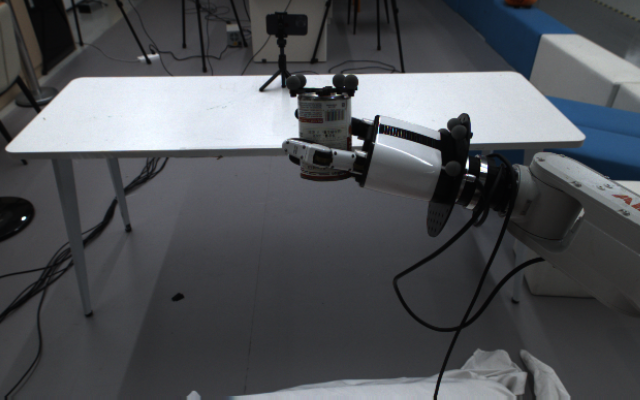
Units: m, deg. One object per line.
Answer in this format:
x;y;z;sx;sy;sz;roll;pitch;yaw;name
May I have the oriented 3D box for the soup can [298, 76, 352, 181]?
0.008;-0.080;0.602;0.067;0.101;0.067;-2;17;0;soup can
